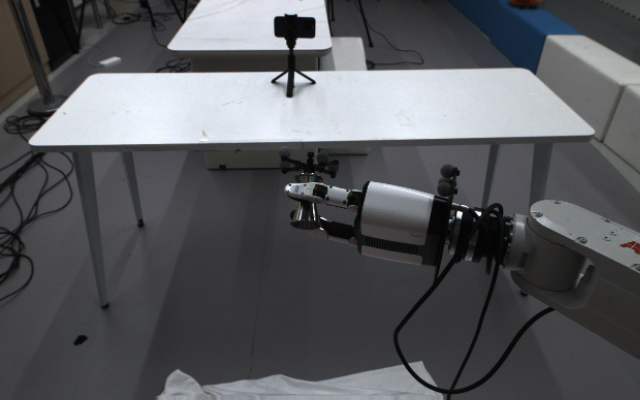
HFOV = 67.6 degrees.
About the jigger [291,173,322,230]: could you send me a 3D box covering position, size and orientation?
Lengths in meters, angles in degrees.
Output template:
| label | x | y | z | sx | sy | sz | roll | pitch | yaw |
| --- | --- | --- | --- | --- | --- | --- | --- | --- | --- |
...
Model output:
| label | x | y | z | sx | sy | sz | roll | pitch | yaw |
| --- | --- | --- | --- | --- | --- | --- | --- | --- | --- |
| jigger | -0.018 | 0.001 | 0.654 | 0.043 | 0.043 | 0.071 | 3 | 72 | 1 |
